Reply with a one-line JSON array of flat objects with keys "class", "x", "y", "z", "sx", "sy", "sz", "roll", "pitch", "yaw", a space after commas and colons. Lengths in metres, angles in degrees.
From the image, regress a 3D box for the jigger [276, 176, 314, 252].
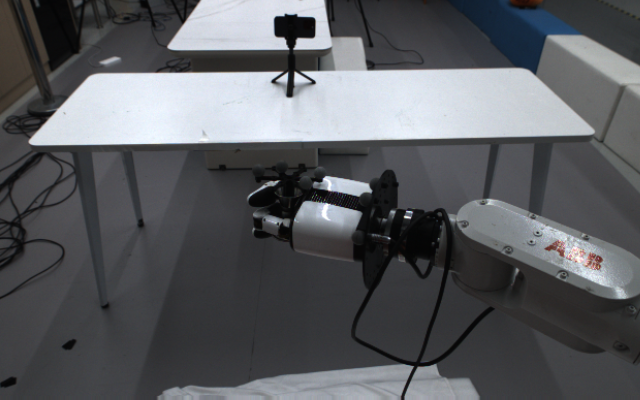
[{"class": "jigger", "x": -0.040, "y": 0.017, "z": 0.669, "sx": 0.043, "sy": 0.071, "sz": 0.043, "roll": 3, "pitch": 25, "yaw": -1}]
